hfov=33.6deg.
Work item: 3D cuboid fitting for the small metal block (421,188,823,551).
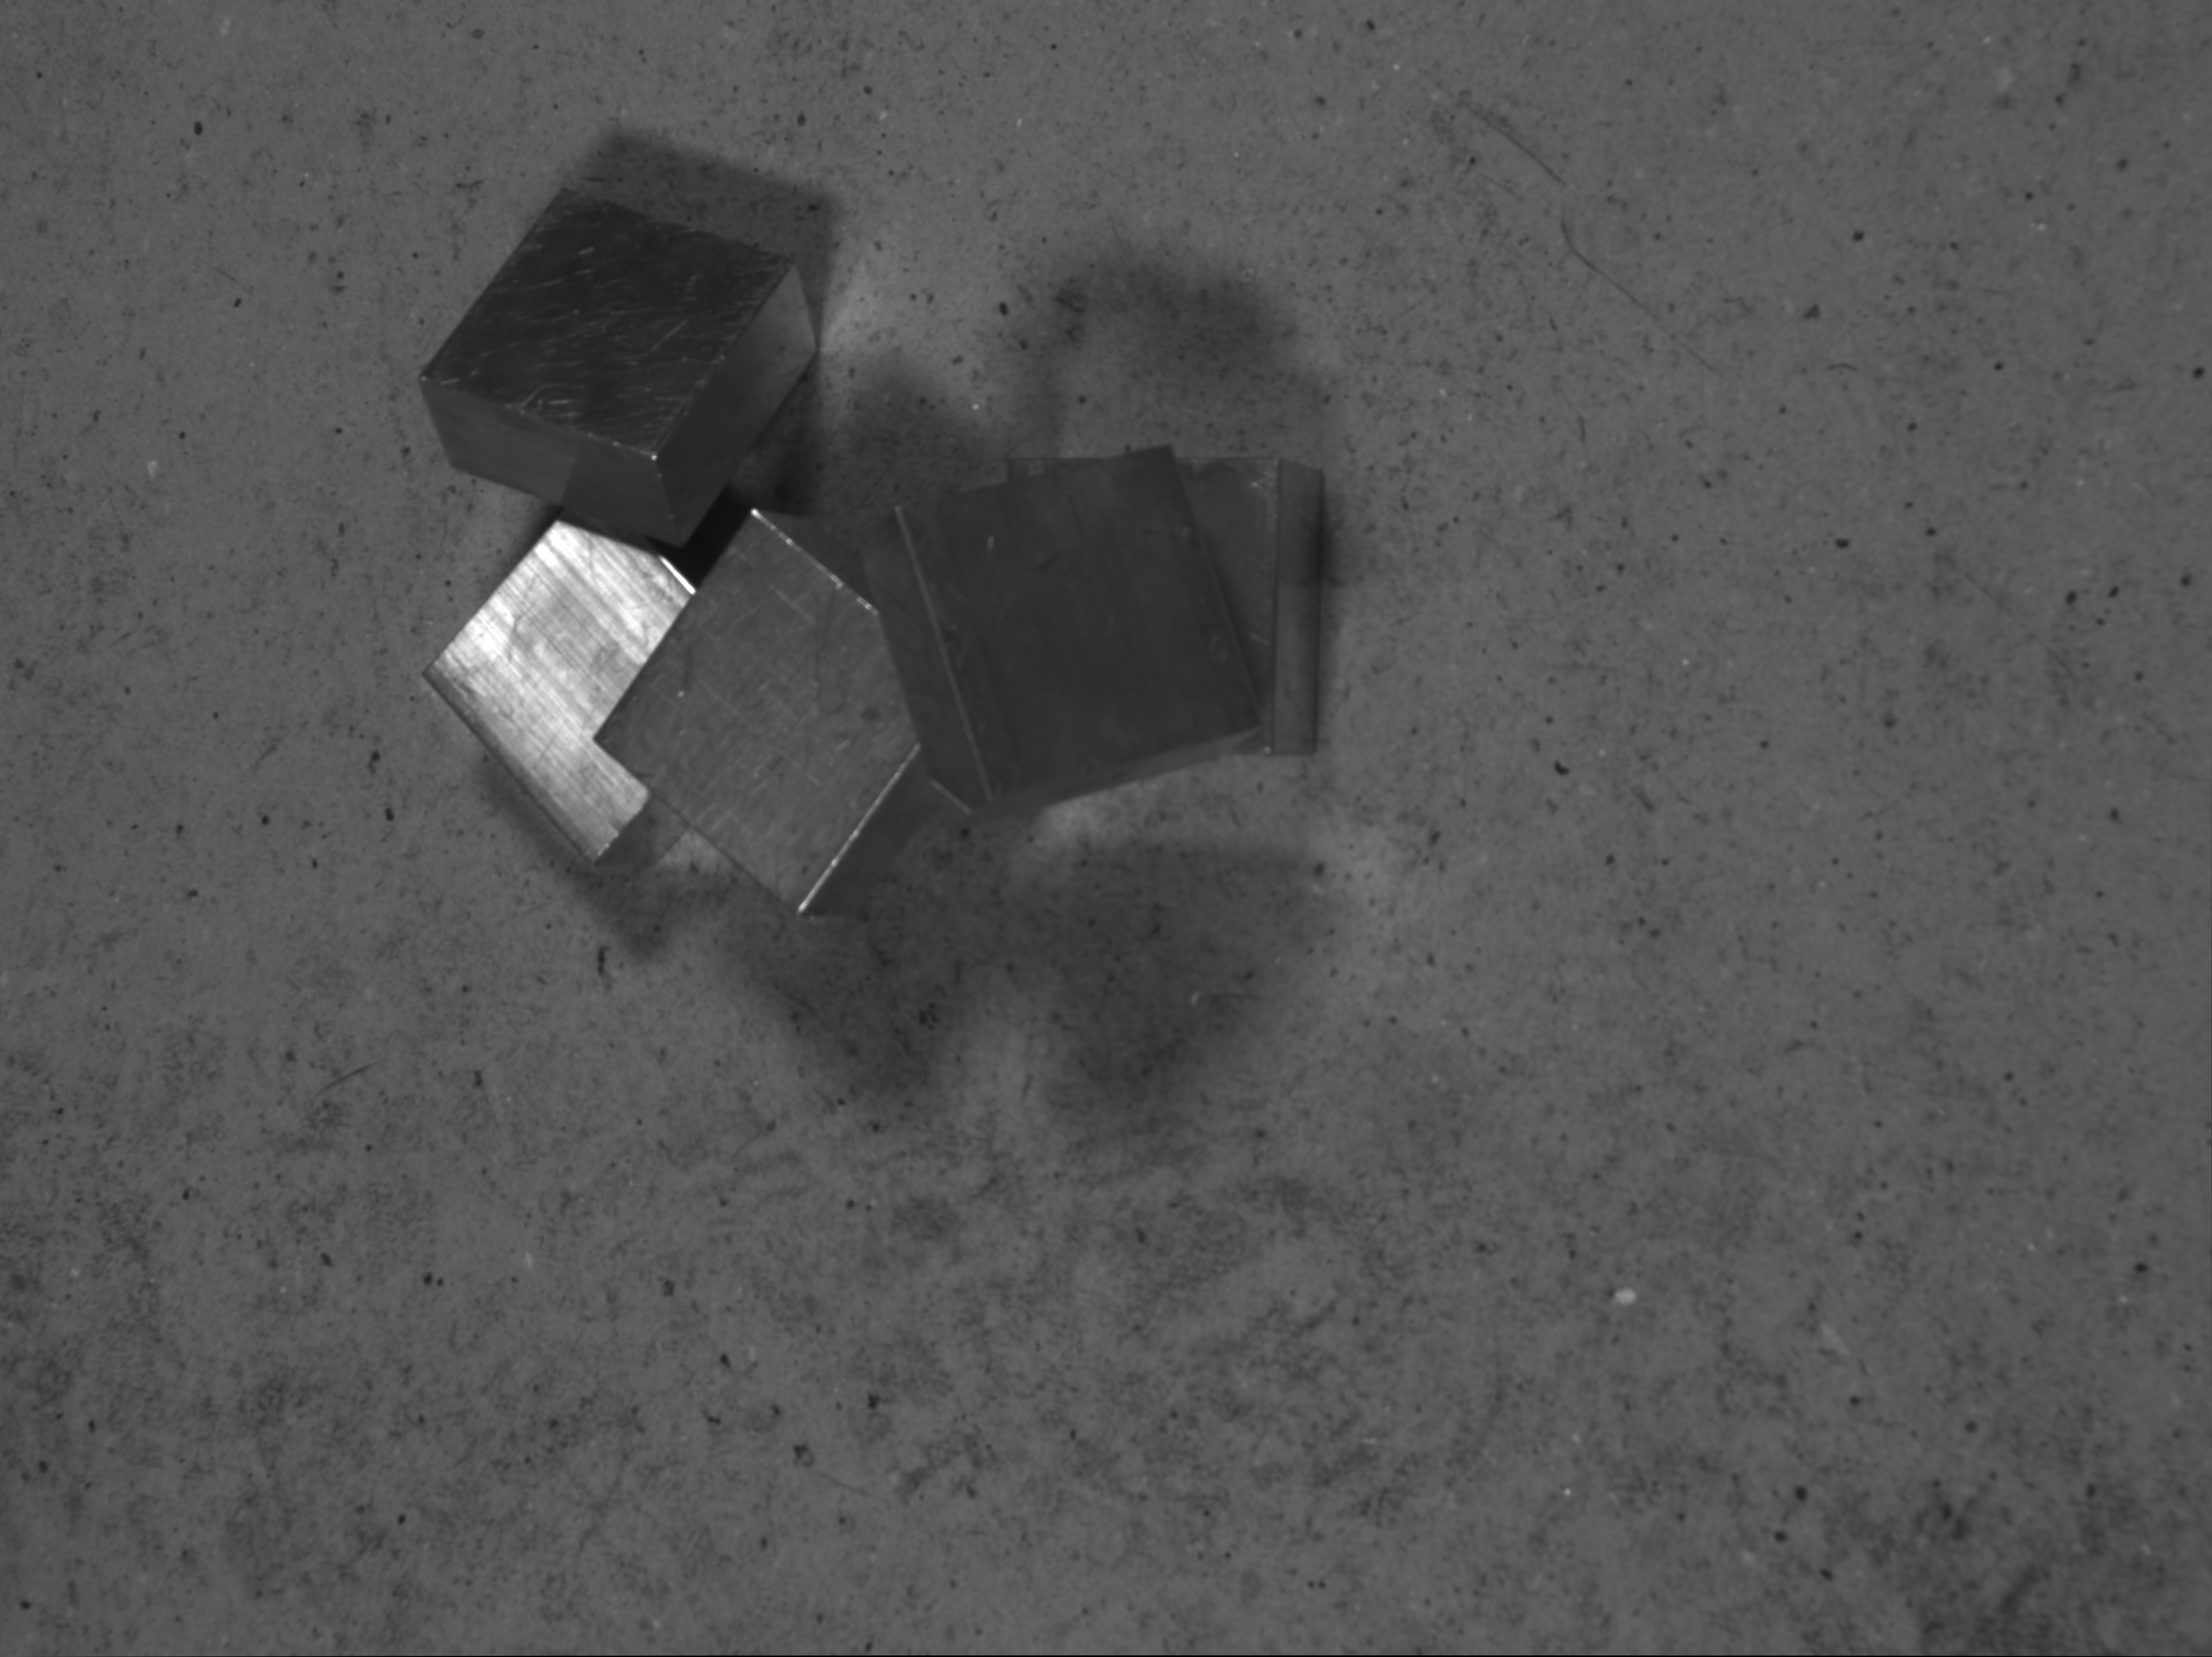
[{"bbox_3d":[-0.087,-0.084,0.663,0.050,0.025,0.050,20,60,19],"label":"small metal block"}]

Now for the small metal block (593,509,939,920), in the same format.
[{"bbox_3d":[-0.052,-0.019,0.635,0.050,0.025,0.050,39,102,16],"label":"small metal block"}]

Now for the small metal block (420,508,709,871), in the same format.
[{"bbox_3d":[-0.089,-0.028,0.676,0.050,0.025,0.050,-46,76,14],"label":"small metal block"}]

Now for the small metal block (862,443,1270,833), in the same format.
[{"bbox_3d":[-0.007,-0.032,0.607,0.050,0.025,0.050,-15,83,-21],"label":"small metal block"}]

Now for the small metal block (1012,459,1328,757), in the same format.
[{"bbox_3d":[0.011,-0.038,0.641,0.050,0.025,0.050,2,91,20],"label":"small metal block"}]
